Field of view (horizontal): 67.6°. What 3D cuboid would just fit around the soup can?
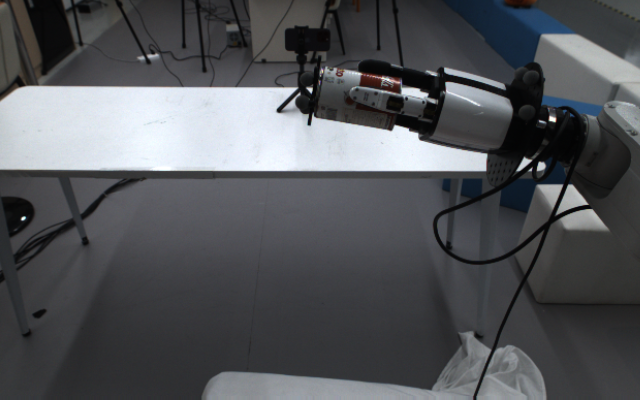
[{"bbox_3d":[0.049,-0.130,0.620,0.101,0.067,0.067,9,35,0],"label":"soup can"}]
